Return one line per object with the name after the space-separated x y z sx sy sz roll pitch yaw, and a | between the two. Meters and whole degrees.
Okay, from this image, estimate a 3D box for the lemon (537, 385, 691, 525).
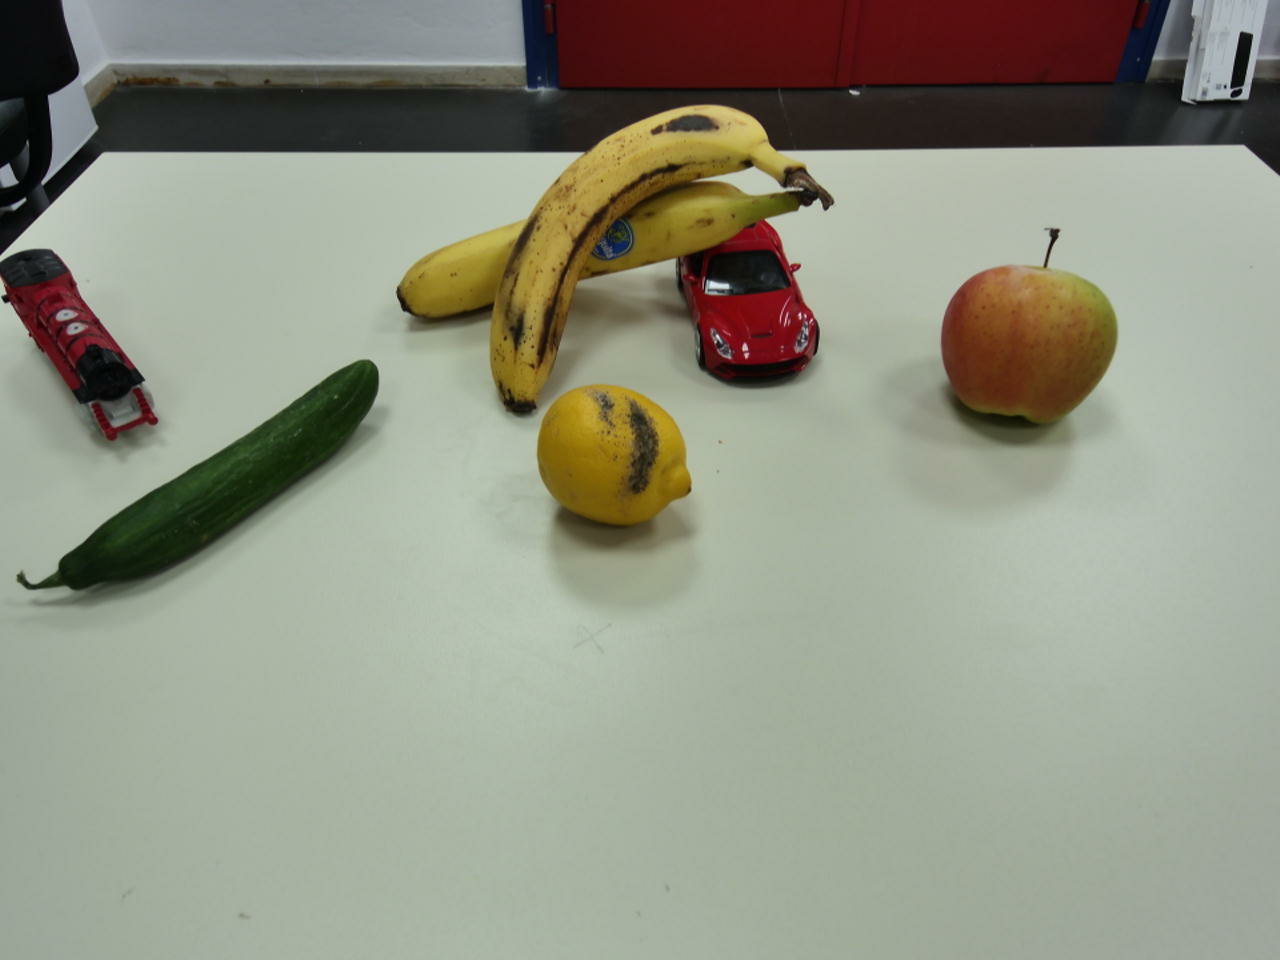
-0.012 -0.011 0.412 0.061 0.056 0.058 -6 39 -6 | lemon
